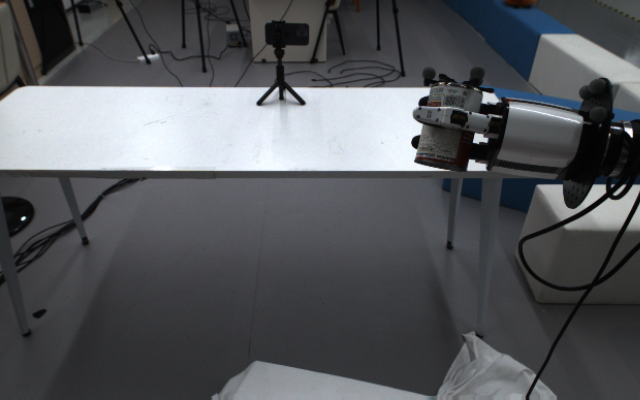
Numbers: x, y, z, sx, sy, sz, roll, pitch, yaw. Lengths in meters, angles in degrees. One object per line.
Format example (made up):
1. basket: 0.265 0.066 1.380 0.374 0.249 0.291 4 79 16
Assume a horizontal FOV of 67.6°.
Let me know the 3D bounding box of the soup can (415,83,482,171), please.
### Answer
1. soup can: 0.167 -0.093 0.624 0.067 0.101 0.067 11 2 0
